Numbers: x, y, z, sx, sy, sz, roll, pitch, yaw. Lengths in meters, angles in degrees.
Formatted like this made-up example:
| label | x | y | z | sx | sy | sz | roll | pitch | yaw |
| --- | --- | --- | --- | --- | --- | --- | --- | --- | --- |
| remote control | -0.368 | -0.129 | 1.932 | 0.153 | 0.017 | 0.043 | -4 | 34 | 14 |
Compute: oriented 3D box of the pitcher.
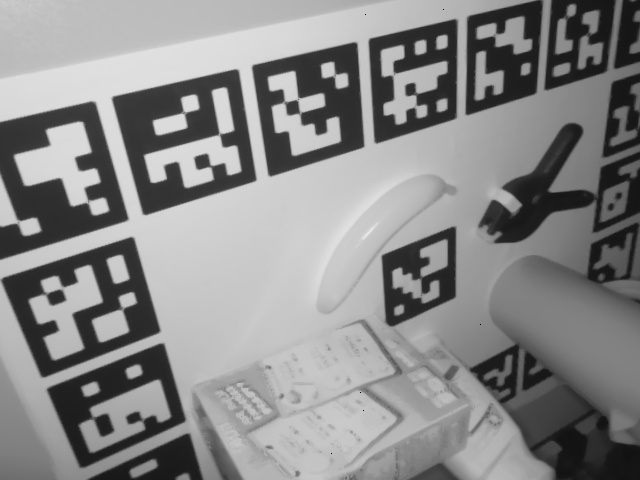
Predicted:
| label | x | y | z | sx | sy | sz | roll | pitch | yaw |
| --- | --- | --- | --- | --- | --- | --- | --- | --- | --- |
| pitcher | 0.326 | 0.097 | 0.753 | 0.190 | 0.241 | 0.133 | -32 | 127 | -9 |

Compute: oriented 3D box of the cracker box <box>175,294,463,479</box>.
| label | x | y | z | sx | sy | sz | roll | pitch | yaw |
| --- | --- | --- | --- | --- | --- | --- | --- | --- | --- |
| cracker box | -0.003 | 0.146 | 0.643 | 0.217 | 0.163 | 0.071 | -17 | 125 | -24 |

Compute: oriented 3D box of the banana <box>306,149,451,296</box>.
| label | x | y | z | sx | sy | sz | roll | pitch | yaw |
| --- | --- | --- | --- | --- | --- | --- | --- | --- | --- |
| banana | 0.048 | -0.026 | 0.693 | 0.197 | 0.038 | 0.074 | -46 | 128 | -2 |

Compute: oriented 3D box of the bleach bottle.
| label | x | y | z | sx | sy | sz | roll | pitch | yaw |
| --- | --- | --- | --- | --- | --- | --- | --- | --- | --- |
| bleach bottle | 0.154 | 0.178 | 0.716 | 0.104 | 0.249 | 0.067 | -18 | 123 | -21 |

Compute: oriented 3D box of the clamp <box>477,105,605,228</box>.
| label | x | y | z | sx | sy | sz | roll | pitch | yaw |
| --- | --- | --- | --- | --- | --- | --- | --- | --- | --- |
| clamp | 0.250 | -0.065 | 0.783 | 0.166 | 0.036 | 0.121 | -31 | 127 | -11 |
